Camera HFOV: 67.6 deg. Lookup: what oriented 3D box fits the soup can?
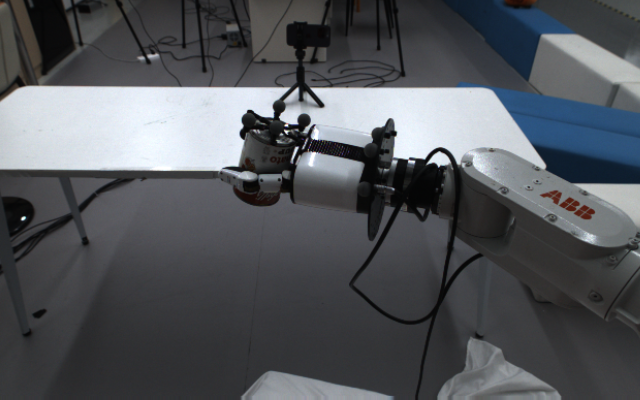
[{"bbox_3d":[-0.073,-0.050,0.649,0.067,0.101,0.067,14,35,-10],"label":"soup can"}]
